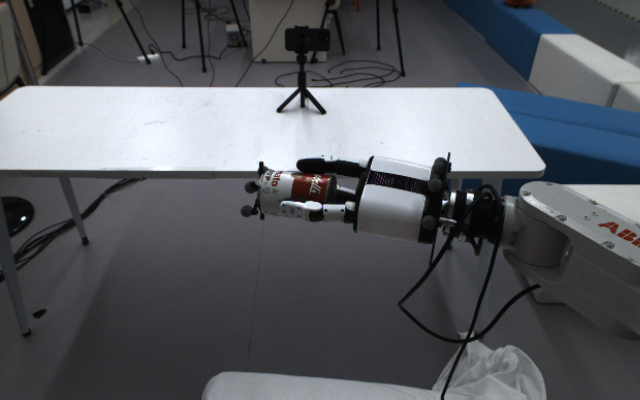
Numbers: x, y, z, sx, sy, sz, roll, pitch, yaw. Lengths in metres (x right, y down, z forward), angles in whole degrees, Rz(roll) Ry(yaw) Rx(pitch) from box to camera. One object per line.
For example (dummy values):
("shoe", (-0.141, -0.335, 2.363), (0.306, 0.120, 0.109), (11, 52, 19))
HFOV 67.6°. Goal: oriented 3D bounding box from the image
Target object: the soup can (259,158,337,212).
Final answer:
("soup can", (-0.030, -0.007, 0.699), (0.101, 0.067, 0.067), (5, 35, 13))
